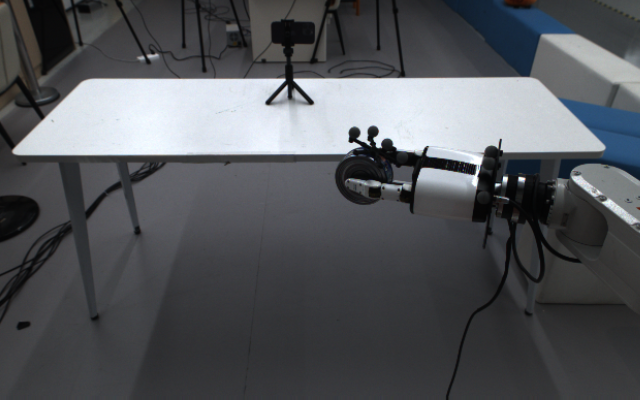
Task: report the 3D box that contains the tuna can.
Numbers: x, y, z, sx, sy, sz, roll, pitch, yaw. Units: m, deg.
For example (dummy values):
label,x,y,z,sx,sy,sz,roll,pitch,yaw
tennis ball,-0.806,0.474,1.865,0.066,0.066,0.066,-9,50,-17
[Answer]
label,x,y,z,sx,sy,sz,roll,pitch,yaw
tuna can,0.070,-0.030,0.744,0.085,0.085,0.034,15,31,18
